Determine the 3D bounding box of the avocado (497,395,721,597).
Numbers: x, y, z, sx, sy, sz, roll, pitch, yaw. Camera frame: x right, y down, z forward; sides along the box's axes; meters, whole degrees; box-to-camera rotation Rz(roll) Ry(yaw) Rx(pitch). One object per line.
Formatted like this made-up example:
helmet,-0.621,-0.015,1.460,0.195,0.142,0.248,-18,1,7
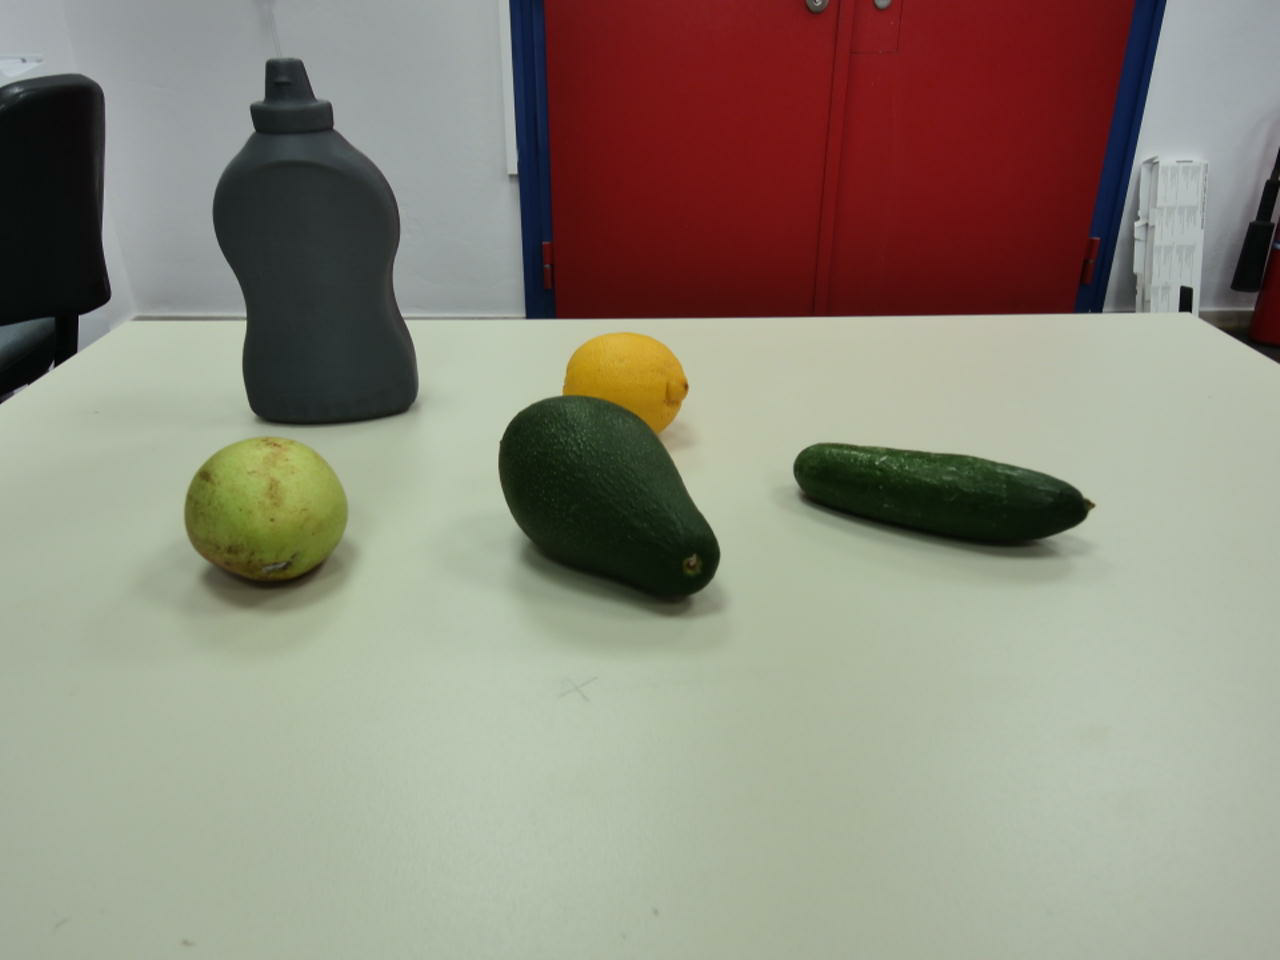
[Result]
avocado,-0.017,0.006,0.420,0.072,0.071,0.109,-11,26,-21
